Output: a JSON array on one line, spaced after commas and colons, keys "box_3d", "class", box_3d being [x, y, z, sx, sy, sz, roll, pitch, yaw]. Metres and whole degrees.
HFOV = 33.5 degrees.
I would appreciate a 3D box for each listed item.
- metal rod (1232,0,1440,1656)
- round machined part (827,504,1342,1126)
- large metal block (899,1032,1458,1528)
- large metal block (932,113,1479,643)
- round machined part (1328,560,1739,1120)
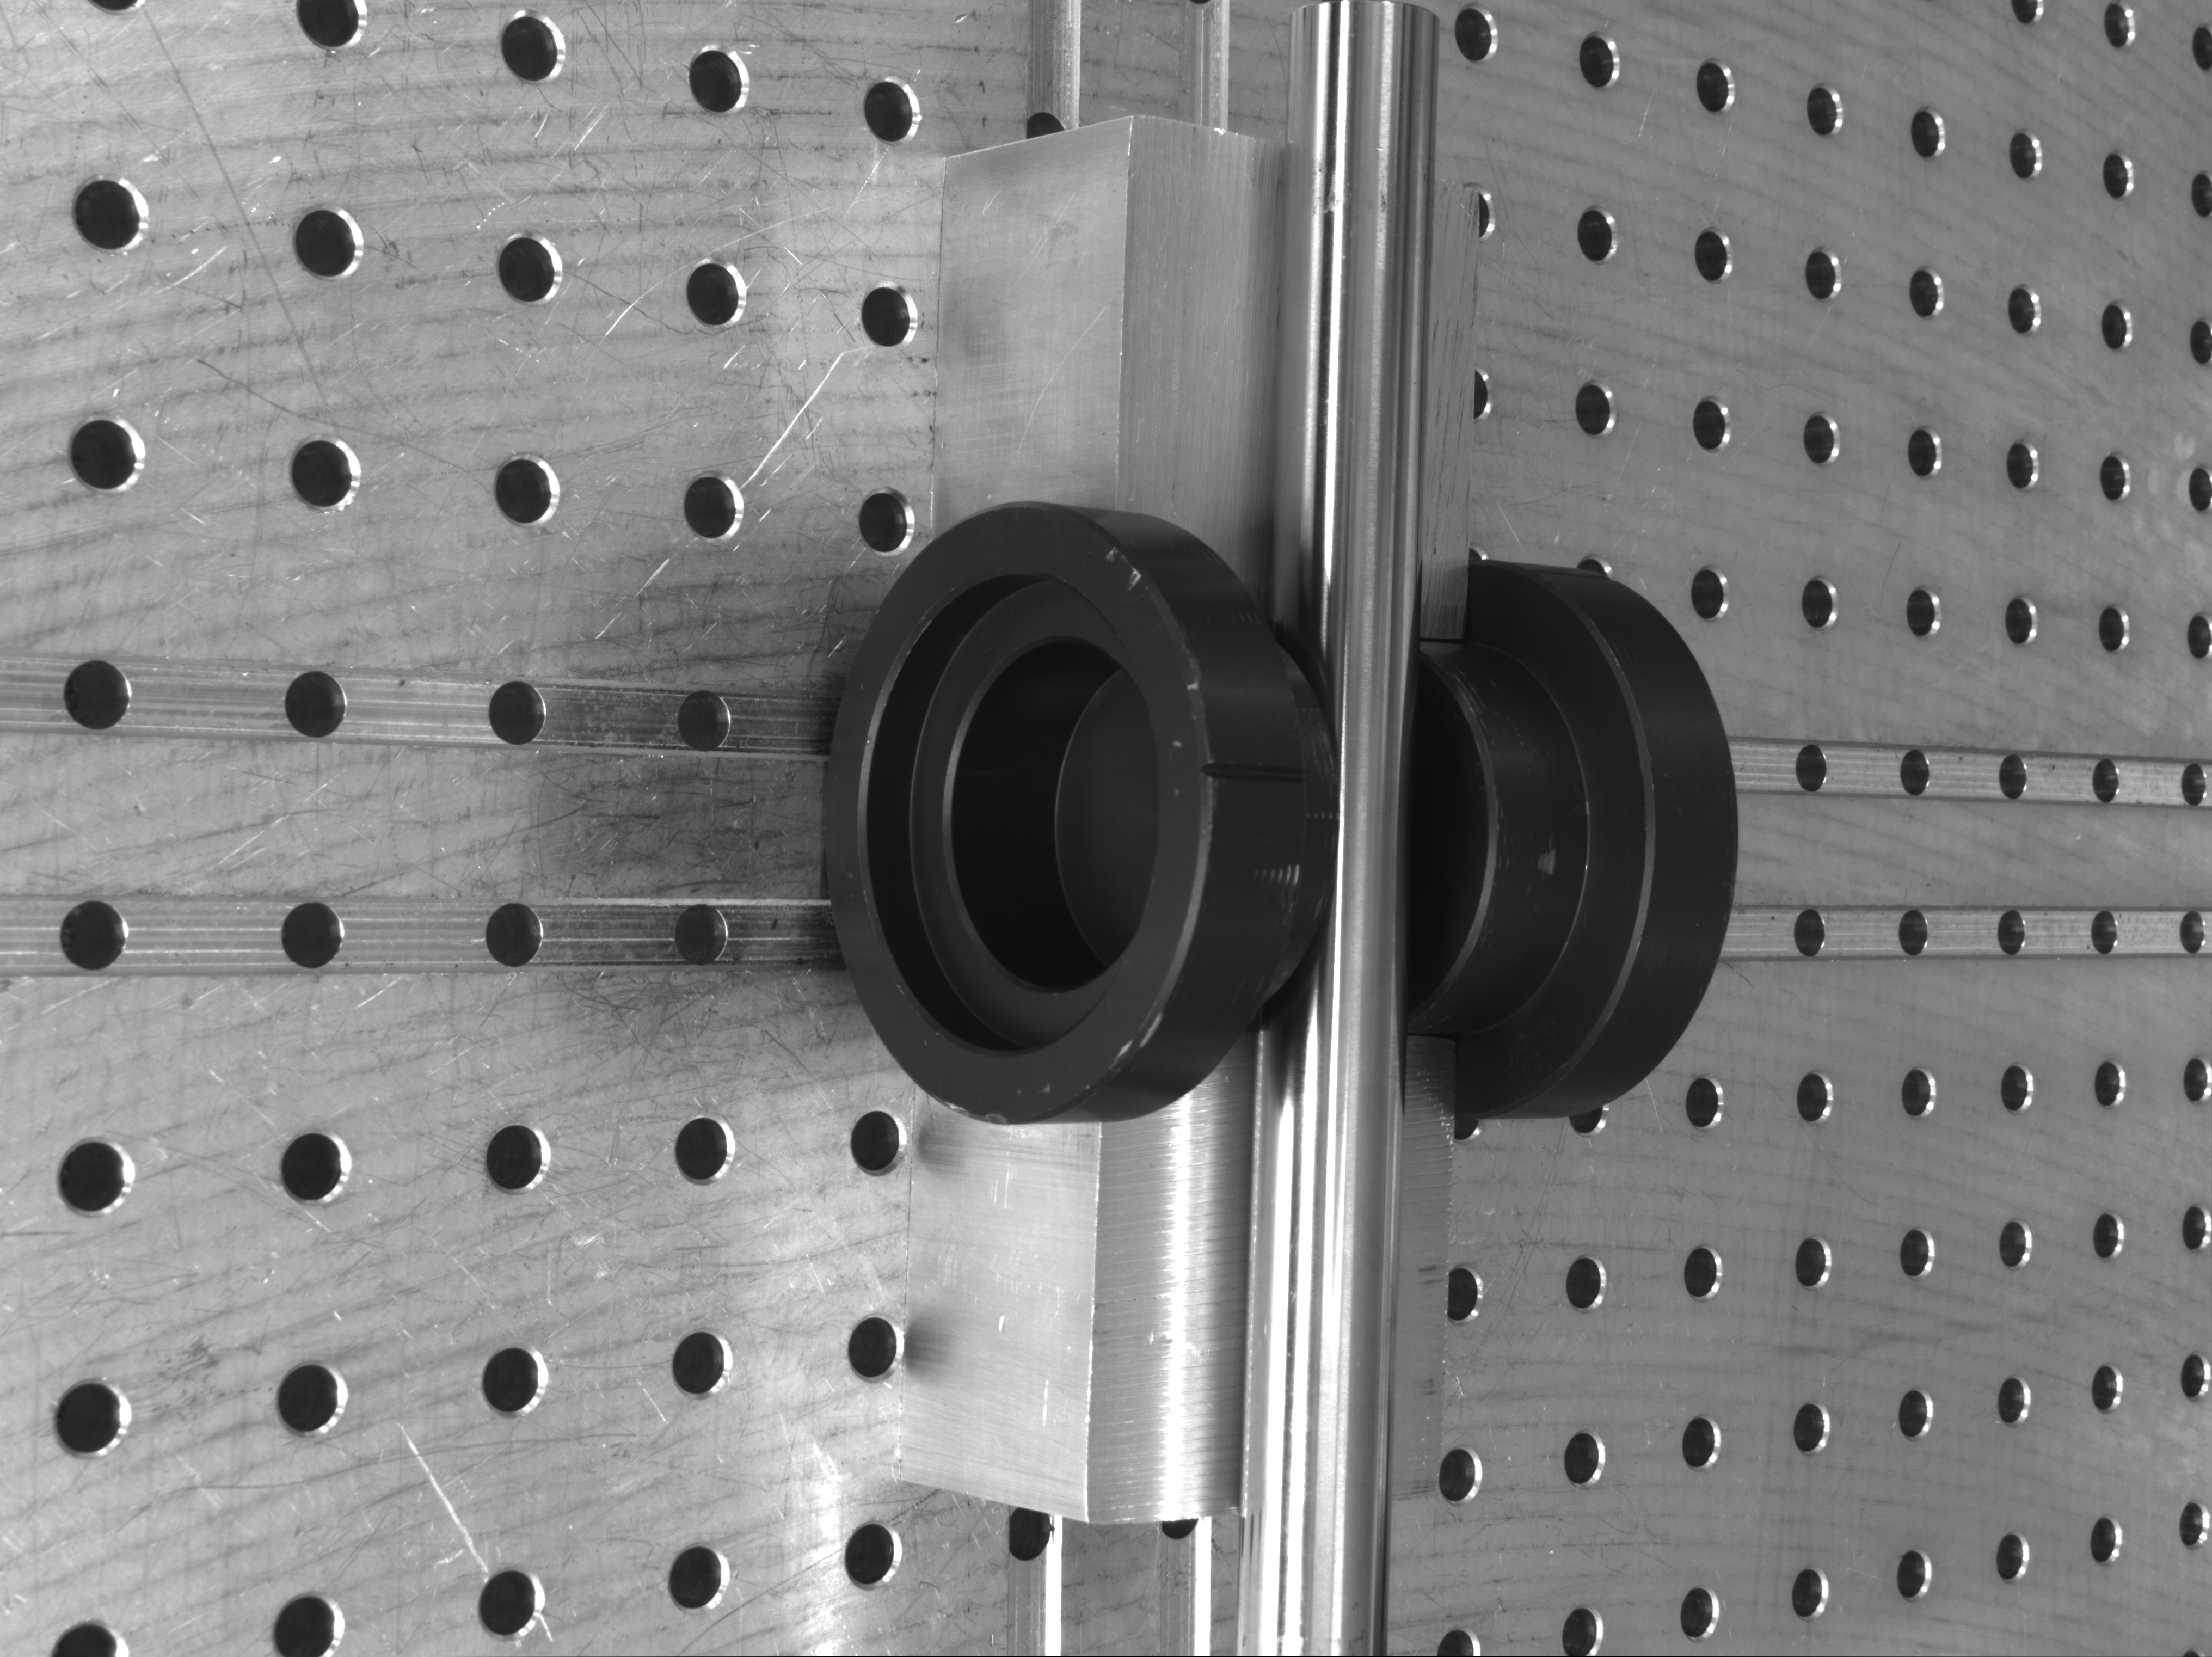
[{"box_3d": [0.038, 0.016, 0.606, 0.025, 0.025, 0.300, 3, 88, -40], "class": "metal rod"}, {"box_3d": [0.000, -0.001, 0.591, 0.042, 0.098, 0.098, 3, 88, -39], "class": "round machined part"}, {"box_3d": [0.013, 0.074, 0.634, 0.080, 0.050, 0.080, 4, 87, -40], "class": "large metal block"}, {"box_3d": [0.018, -0.074, 0.637, 0.080, 0.050, 0.080, 3, 88, -40], "class": "large metal block"}, {"box_3d": [0.061, 0.002, 0.643, 0.042, 0.098, 0.098, 2, 89, -35], "class": "round machined part"}]
